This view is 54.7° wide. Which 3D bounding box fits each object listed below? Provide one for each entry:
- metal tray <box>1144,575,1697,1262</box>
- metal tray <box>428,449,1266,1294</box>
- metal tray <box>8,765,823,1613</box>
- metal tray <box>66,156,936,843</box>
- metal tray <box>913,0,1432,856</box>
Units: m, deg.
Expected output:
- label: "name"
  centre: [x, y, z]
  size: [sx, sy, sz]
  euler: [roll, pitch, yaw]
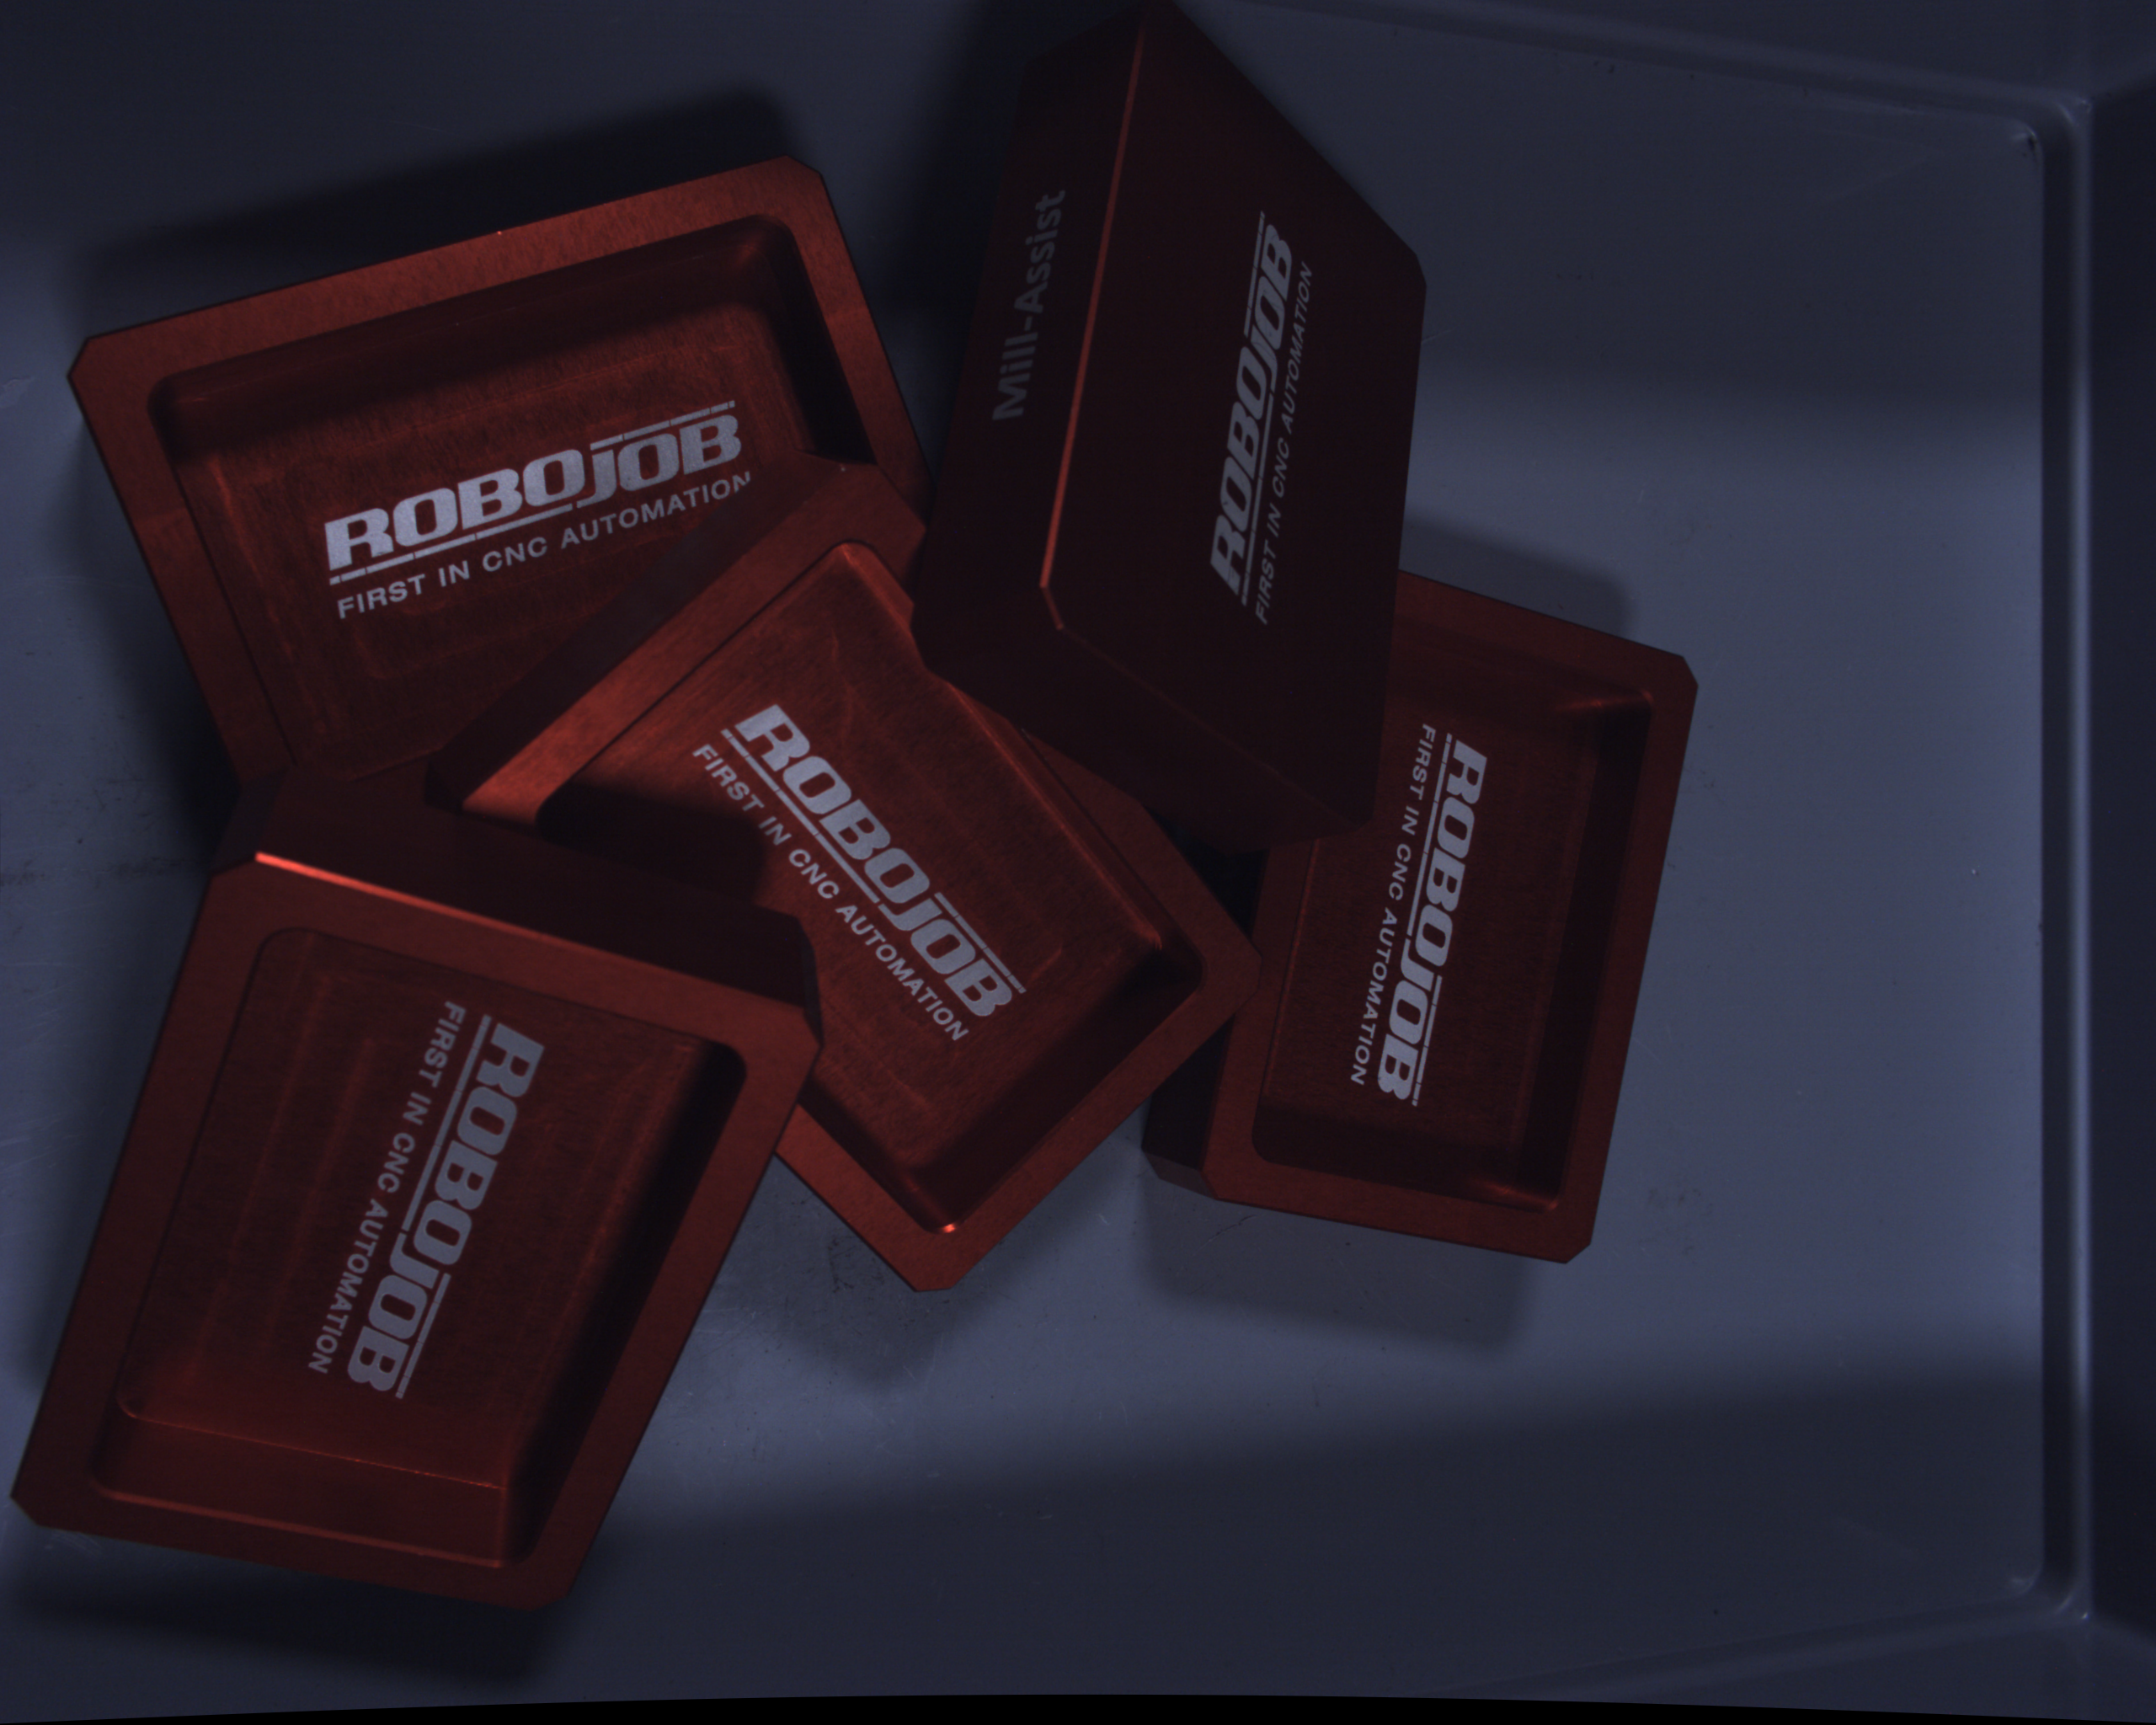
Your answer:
- label: "metal tray"
  centre: [0.072, 0.011, 0.434]
  size: [0.091, 0.030, 0.129]
  euler: [13, 85, -20]
- label: "metal tray"
  centre: [-0.036, 0.004, 0.371]
  size: [0.090, 0.030, 0.130]
  euler: [-43, 119, -8]
- label: "metal tray"
  centre: [-0.106, 0.058, 0.336]
  size: [0.091, 0.030, 0.129]
  euler: [18, 112, -20]
- label: "metal tray"
  centre: [-0.095, -0.063, 0.371]
  size: [0.131, 0.030, 0.090]
  euler: [-22, 98, -19]
- label: "metal tray"
  centre: [0.023, -0.077, 0.379]
  size: [0.090, 0.030, 0.130]
  euler: [31, 59, -41]
